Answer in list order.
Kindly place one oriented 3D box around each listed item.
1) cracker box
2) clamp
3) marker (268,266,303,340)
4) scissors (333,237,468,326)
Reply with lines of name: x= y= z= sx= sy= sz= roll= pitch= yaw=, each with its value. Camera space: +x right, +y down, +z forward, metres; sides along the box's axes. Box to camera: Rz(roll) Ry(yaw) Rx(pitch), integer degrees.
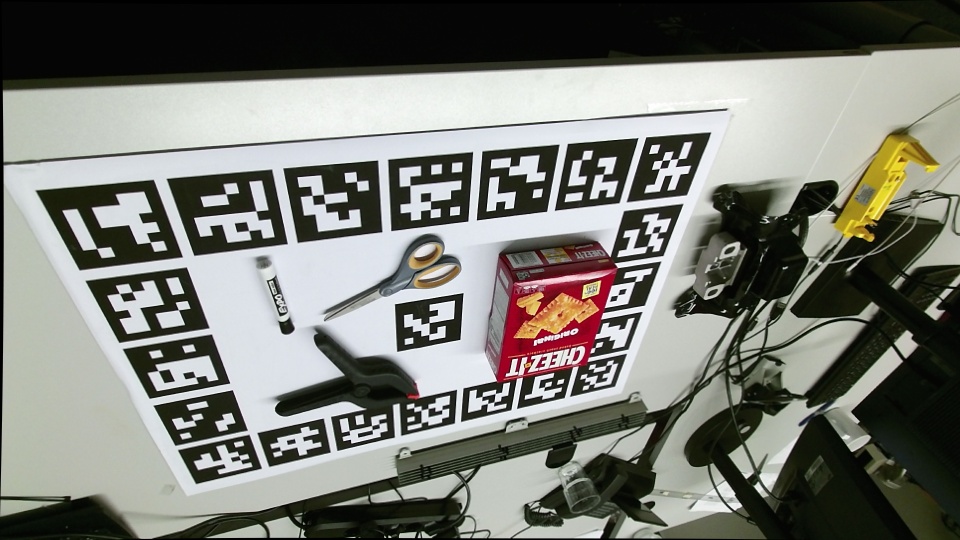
cracker box: x=0.112 y=0.071 z=0.827 sx=0.165 sy=0.071 sz=0.214 roll=-8 pitch=131 yaw=-18
clamp: x=-0.173 y=0.178 z=0.835 sx=0.204 sy=0.036 sz=0.165 roll=19 pitch=120 yaw=-34
marker: x=-0.246 y=0.046 z=0.682 sx=0.020 sy=0.019 sz=0.121 roll=-12 pitch=133 yaw=-15
scissors: x=-0.111 y=0.028 z=0.727 sx=0.203 sy=0.016 sz=0.088 roll=-29 pitch=135 yaw=5
